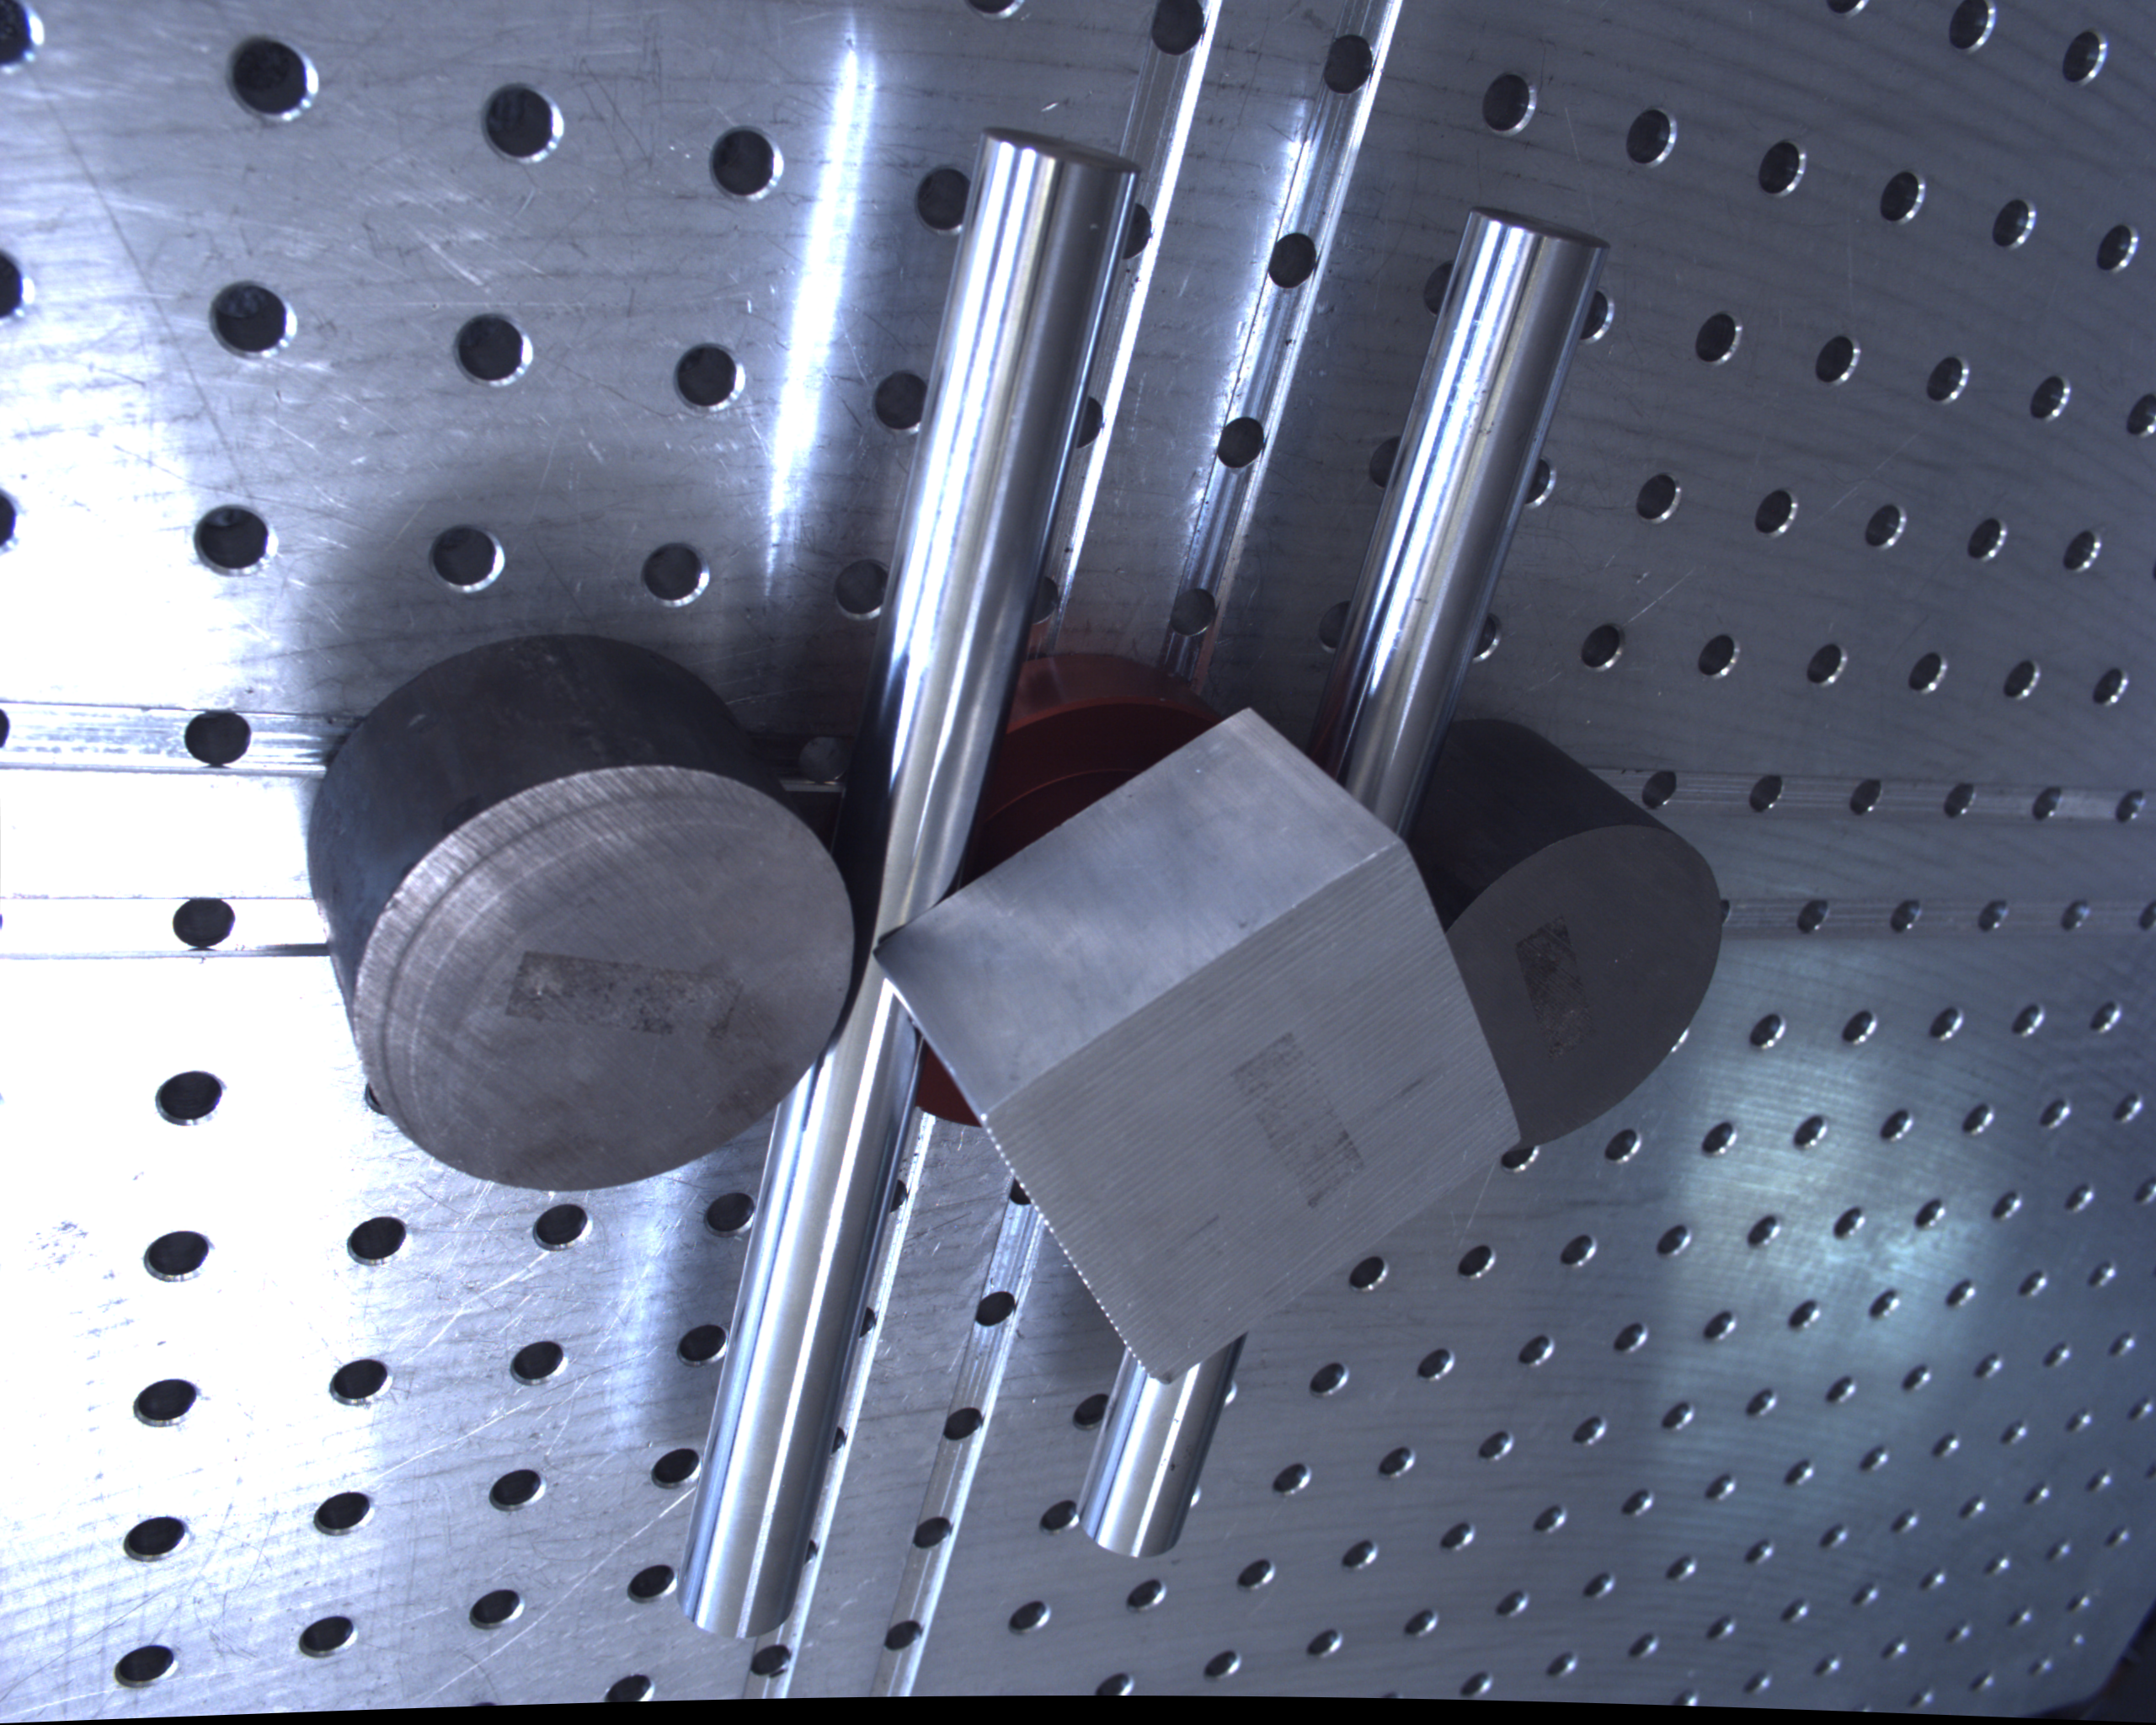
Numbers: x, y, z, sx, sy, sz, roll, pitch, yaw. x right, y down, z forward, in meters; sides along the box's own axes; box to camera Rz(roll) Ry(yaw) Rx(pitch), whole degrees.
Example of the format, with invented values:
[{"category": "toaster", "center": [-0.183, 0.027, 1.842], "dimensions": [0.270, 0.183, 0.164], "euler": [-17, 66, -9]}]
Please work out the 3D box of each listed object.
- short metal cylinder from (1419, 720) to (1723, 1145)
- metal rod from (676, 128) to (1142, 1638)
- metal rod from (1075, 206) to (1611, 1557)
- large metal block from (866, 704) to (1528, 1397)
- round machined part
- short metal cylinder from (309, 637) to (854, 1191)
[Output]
[{"category": "short metal cylinder", "center": [0.091, 0.016, 0.453], "dimensions": [0.081, 0.050, 0.079], "euler": [-14, 124, -21]}, {"category": "metal rod", "center": [-0.037, 0.023, 0.377], "dimensions": [0.025, 0.025, 0.298], "euler": [0, 118, -29]}, {"category": "metal rod", "center": [0.046, 0.021, 0.422], "dimensions": [0.025, 0.025, 0.298], "euler": [0, 119, -29]}, {"category": "large metal block", "center": [0.023, 0.033, 0.366], "dimensions": [0.080, 0.050, 0.080], "euler": [-33, 129, -7]}, {"category": "round machined part", "center": [0.000, 0.012, 0.408], "dimensions": [0.099, 0.042, 0.097], "euler": [-14, 124, -21]}, {"category": "short metal cylinder", "center": [-0.085, 0.008, 0.354], "dimensions": [0.081, 0.050, 0.079], "euler": [-14, 124, -21]}]
